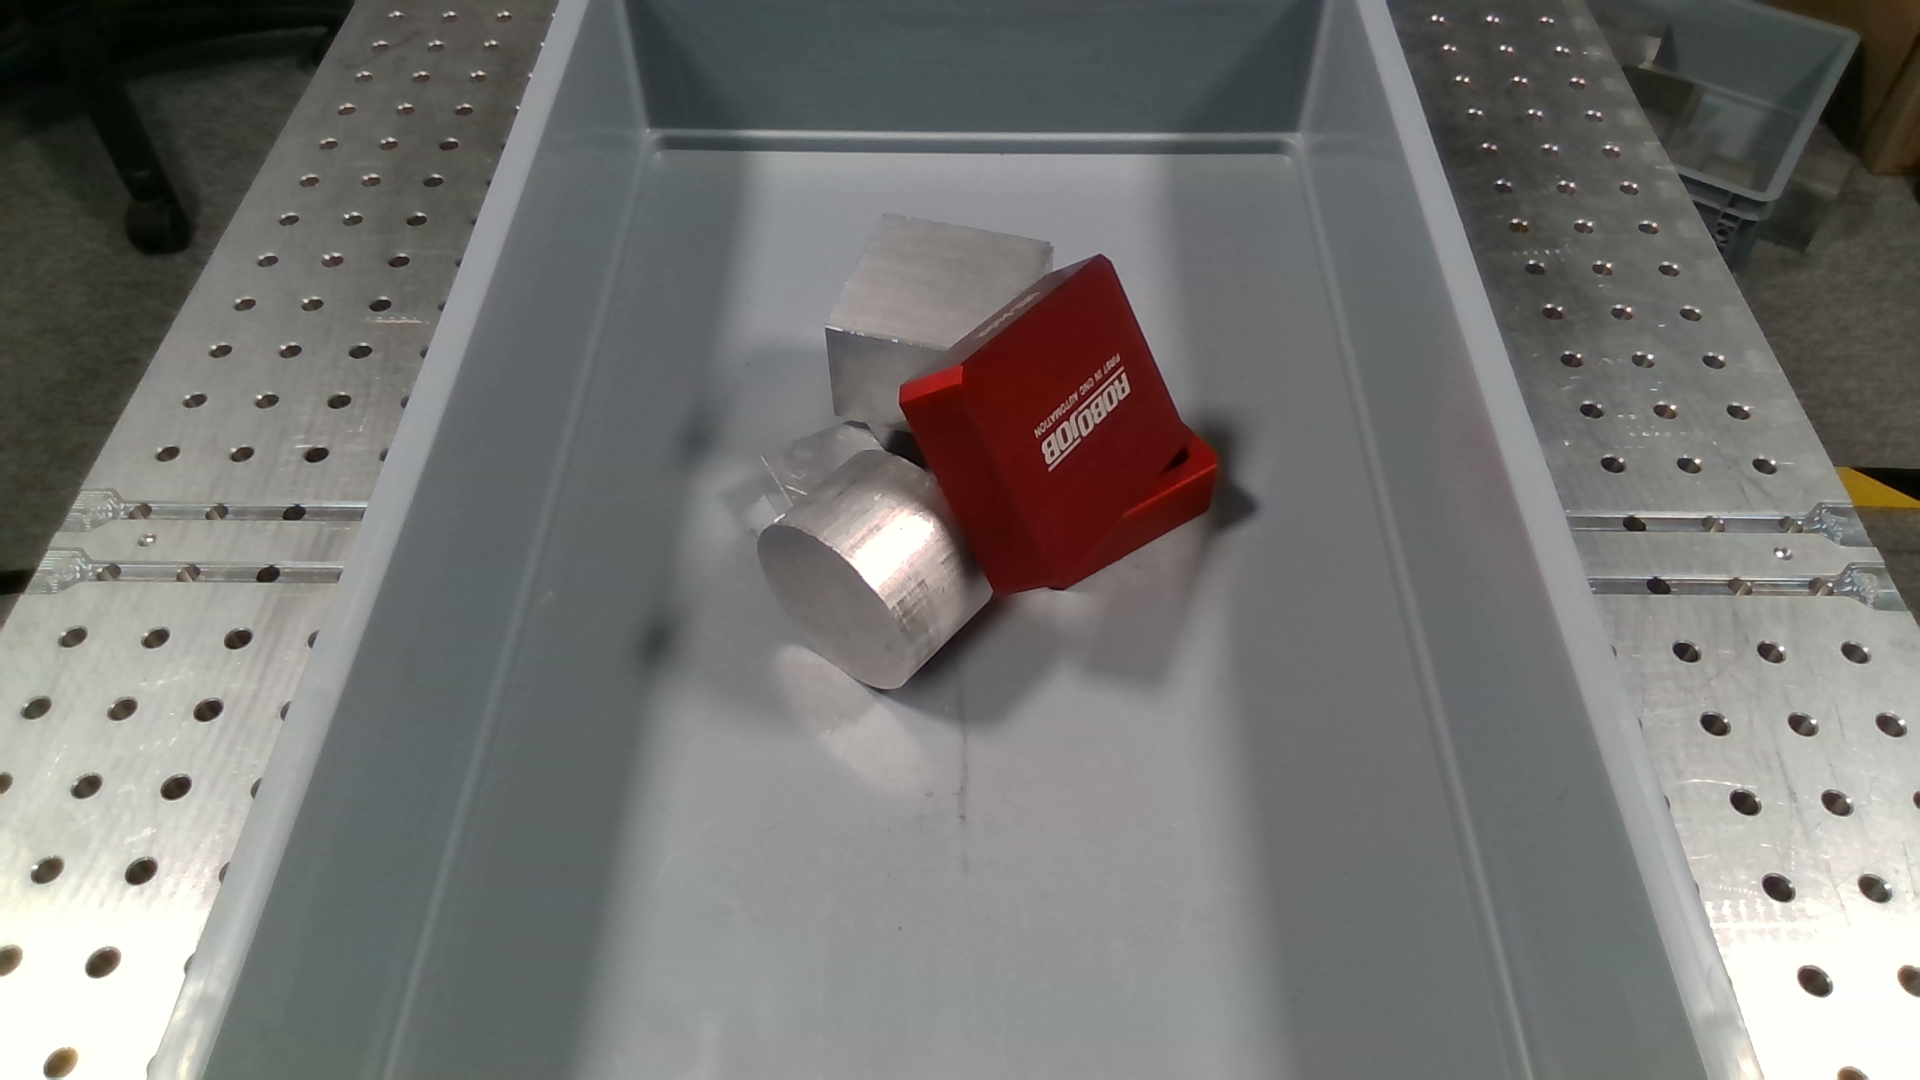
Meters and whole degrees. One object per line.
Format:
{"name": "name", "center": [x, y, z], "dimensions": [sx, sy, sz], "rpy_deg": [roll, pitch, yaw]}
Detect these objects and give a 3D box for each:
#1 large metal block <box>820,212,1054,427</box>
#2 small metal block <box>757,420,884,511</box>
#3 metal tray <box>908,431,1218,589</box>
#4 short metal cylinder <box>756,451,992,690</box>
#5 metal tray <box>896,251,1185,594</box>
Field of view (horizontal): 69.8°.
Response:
{"name": "large metal block", "center": [-0.008, -0.094, 0.606], "dimensions": [0.080, 0.050, 0.080], "rpy_deg": [13, 51, 10]}
{"name": "small metal block", "center": [-0.054, -0.022, 0.604], "dimensions": [0.050, 0.025, 0.050], "rpy_deg": [-23, 54, -18]}
{"name": "metal tray", "center": [0.041, -0.047, 0.621], "dimensions": [0.090, 0.030, 0.130], "rpy_deg": [-28, 55, -21]}
{"name": "short metal cylinder", "center": [-0.033, 0.012, 0.540], "dimensions": [0.080, 0.080, 0.050], "rpy_deg": [32, 57, 24]}
{"name": "metal tray", "center": [0.037, -0.049, 0.546], "dimensions": [0.030, 0.090, 0.130], "rpy_deg": [-14, 21, 39]}
